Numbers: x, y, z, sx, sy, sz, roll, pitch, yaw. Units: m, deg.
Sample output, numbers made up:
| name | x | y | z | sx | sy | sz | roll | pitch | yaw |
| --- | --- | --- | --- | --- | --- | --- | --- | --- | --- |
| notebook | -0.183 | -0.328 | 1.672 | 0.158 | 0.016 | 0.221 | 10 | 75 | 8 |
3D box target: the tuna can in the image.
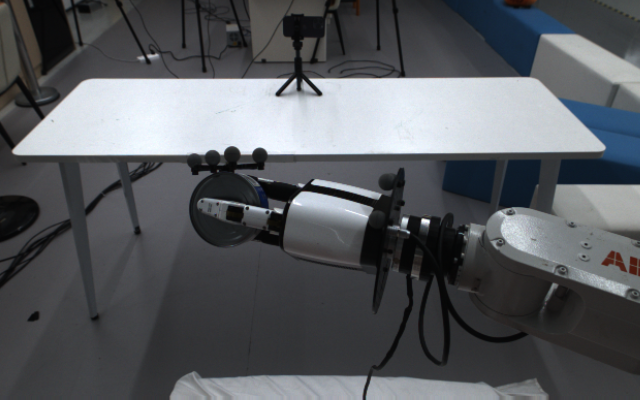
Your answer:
| name | x | y | z | sx | sy | sz | roll | pitch | yaw |
| --- | --- | --- | --- | --- | --- | --- | --- | --- | --- |
| tuna can | -0.101 | 0.015 | 0.553 | 0.085 | 0.085 | 0.034 | 10 | 3 | 11 |
